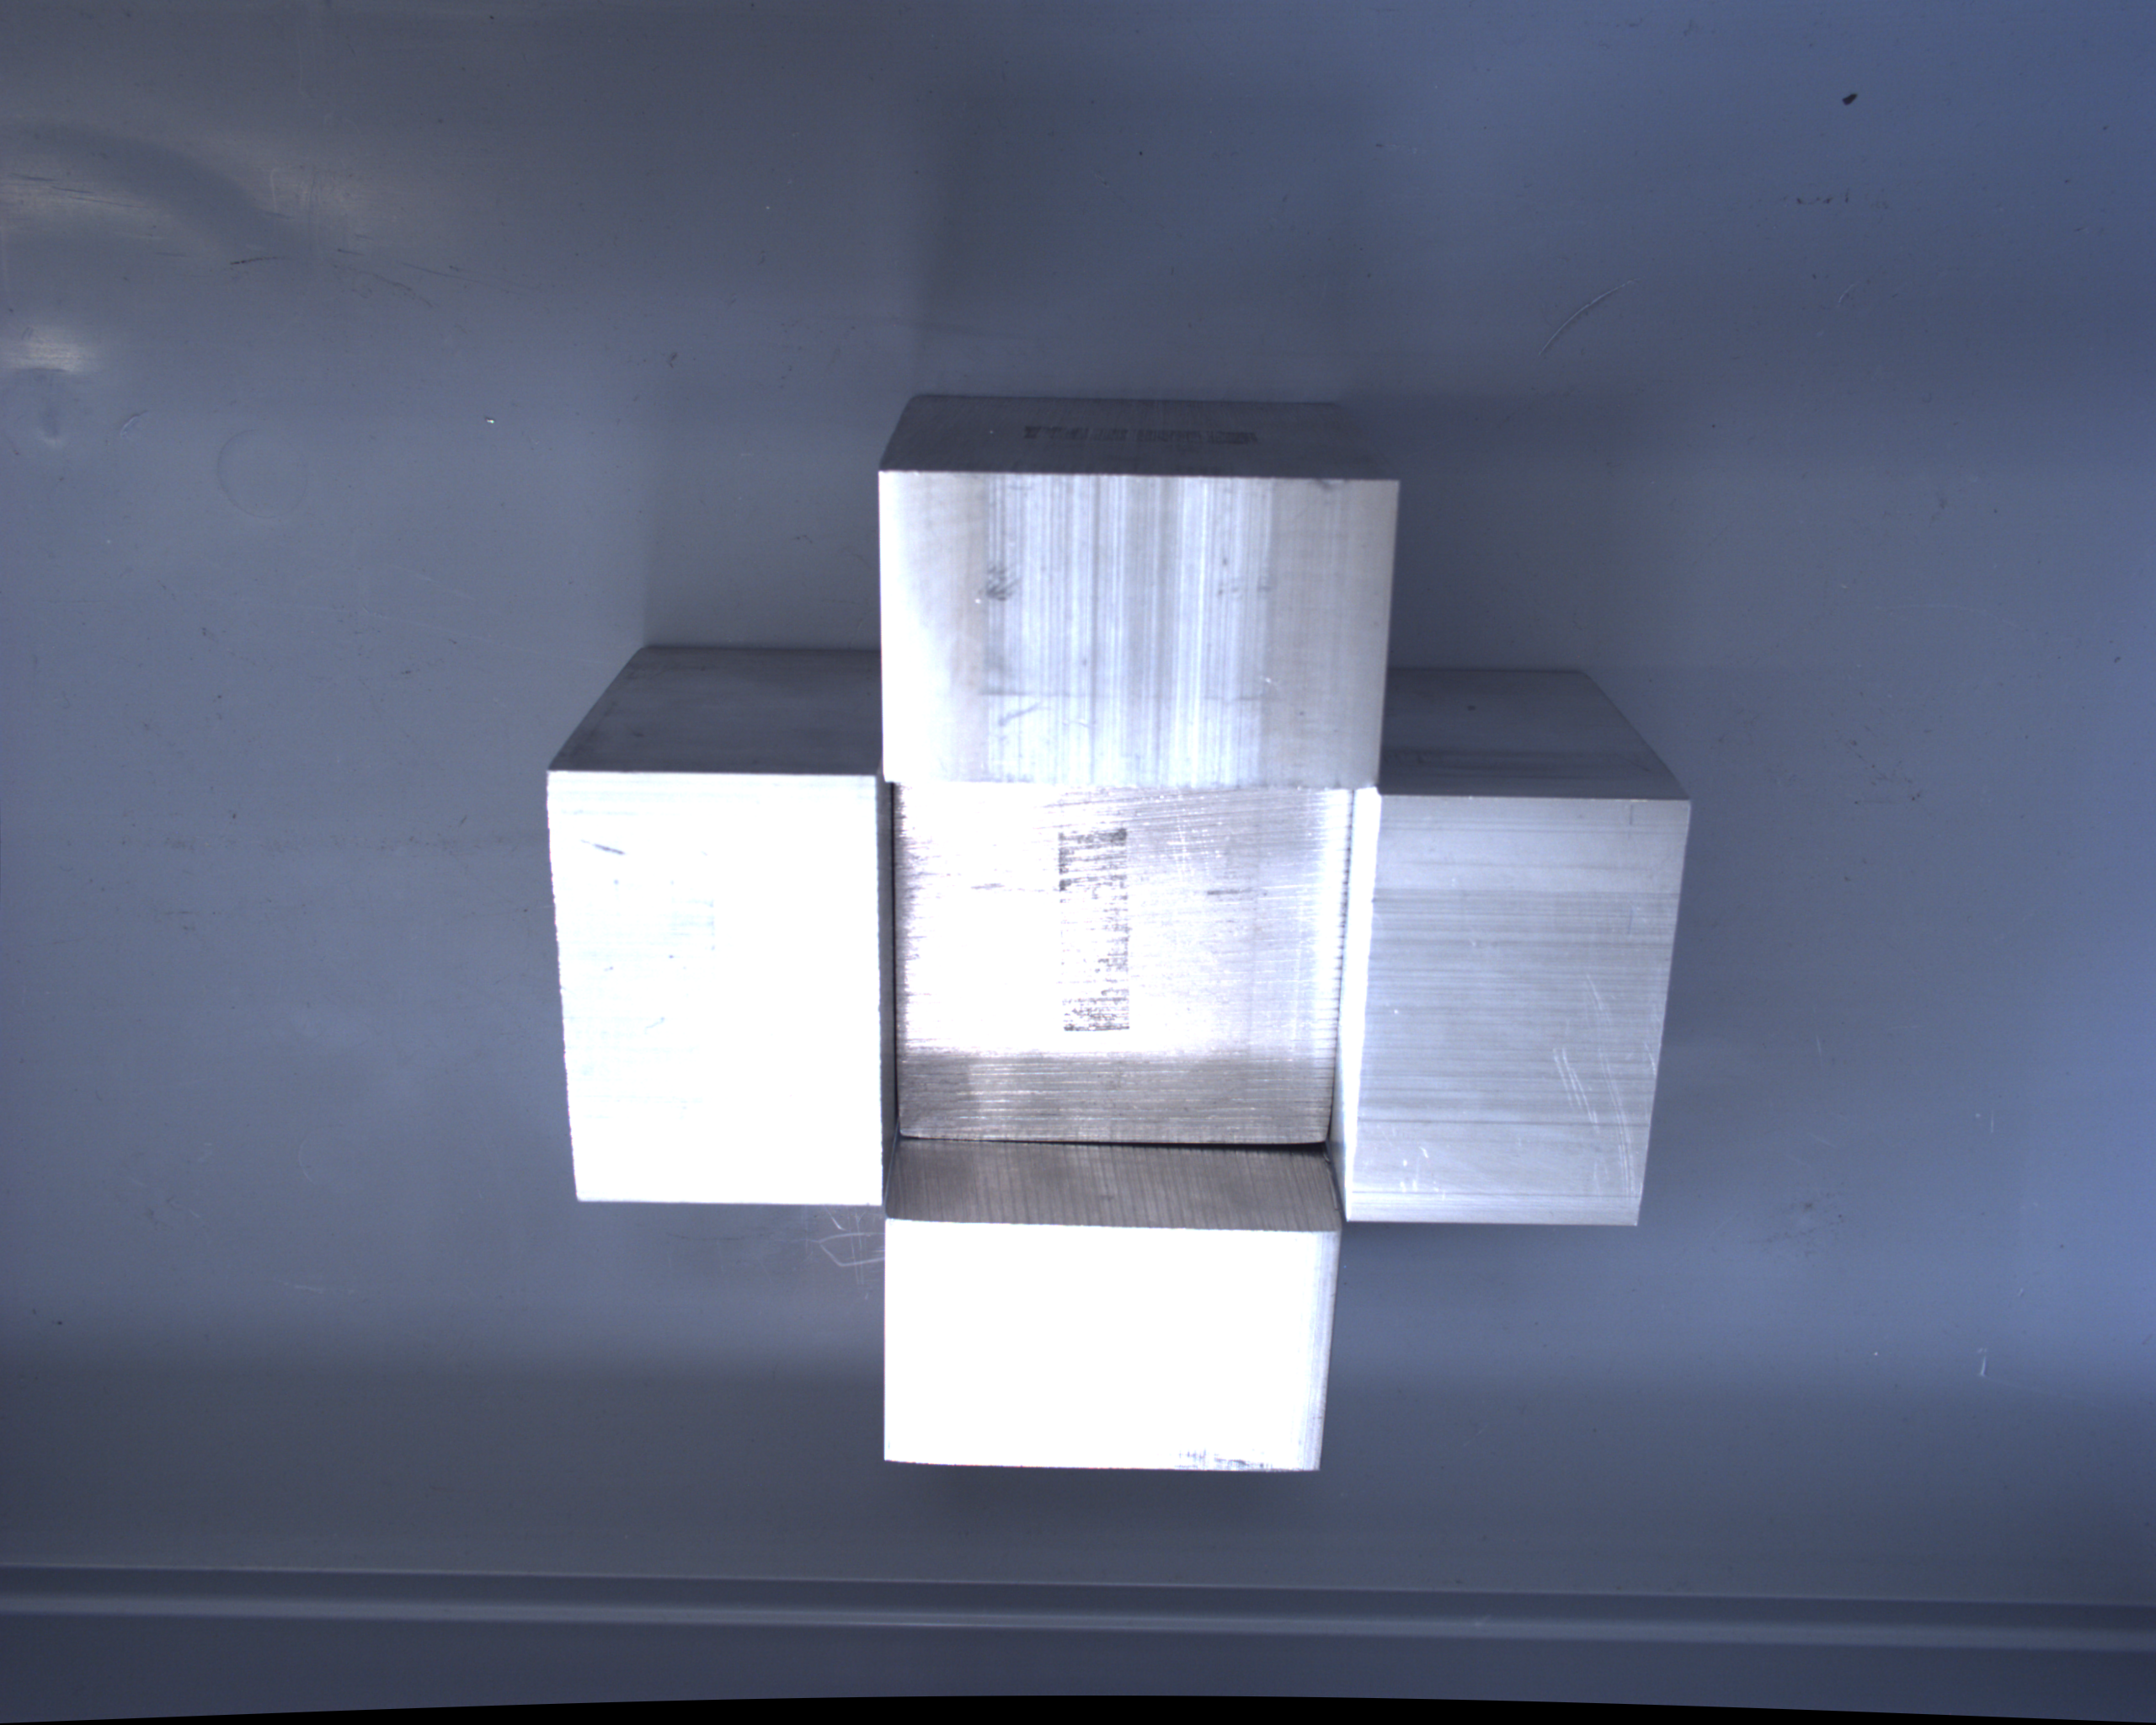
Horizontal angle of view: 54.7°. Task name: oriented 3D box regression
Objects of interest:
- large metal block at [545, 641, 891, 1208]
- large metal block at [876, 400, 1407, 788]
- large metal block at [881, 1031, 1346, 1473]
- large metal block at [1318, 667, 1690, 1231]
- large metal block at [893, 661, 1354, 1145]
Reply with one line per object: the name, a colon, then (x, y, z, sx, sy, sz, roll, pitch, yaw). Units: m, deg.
large metal block: (-0.060, 0.008, 0.383, 0.050, 0.080, 0.079, 1, 110, 0)
large metal block: (0.009, -0.050, 0.362, 0.081, 0.080, 0.050, 1, 110, -1)
large metal block: (0.005, 0.072, 0.407, 0.081, 0.080, 0.050, 2, 110, -1)
large metal block: (0.073, 0.013, 0.386, 0.050, 0.080, 0.079, 1, 110, 0)
large metal block: (0.008, 0.006, 0.398, 0.081, 0.050, 0.079, 1, 110, -1)
